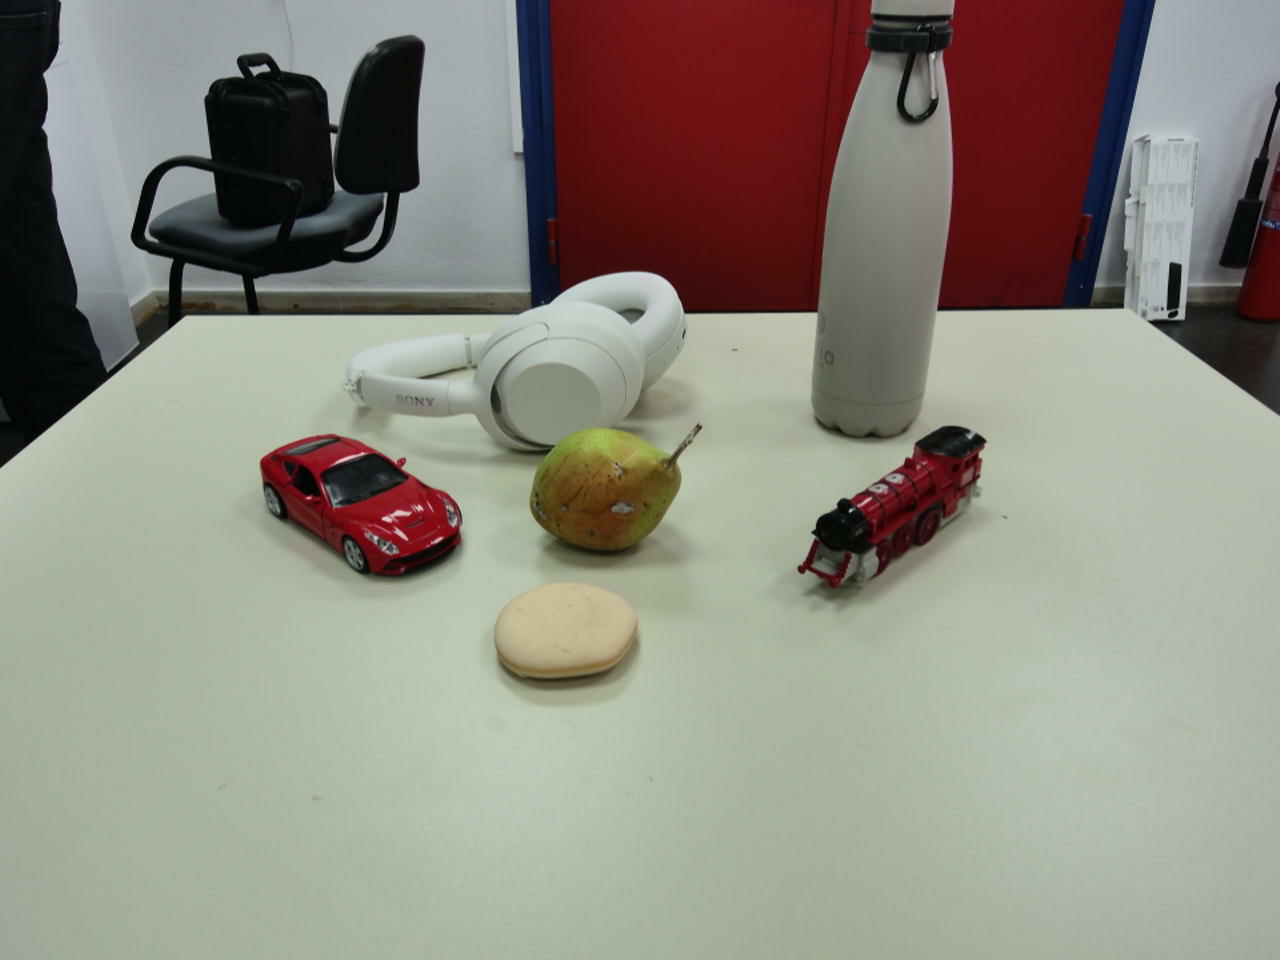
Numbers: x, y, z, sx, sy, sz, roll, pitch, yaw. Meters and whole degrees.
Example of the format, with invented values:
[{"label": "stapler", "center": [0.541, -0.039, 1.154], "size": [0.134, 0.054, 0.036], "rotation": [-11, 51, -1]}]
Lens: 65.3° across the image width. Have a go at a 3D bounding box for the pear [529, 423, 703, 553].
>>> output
[{"label": "pear", "center": [-0.017, 0.002, 0.505], "size": [0.068, 0.069, 0.070], "rotation": [-20, 32, -34]}]
